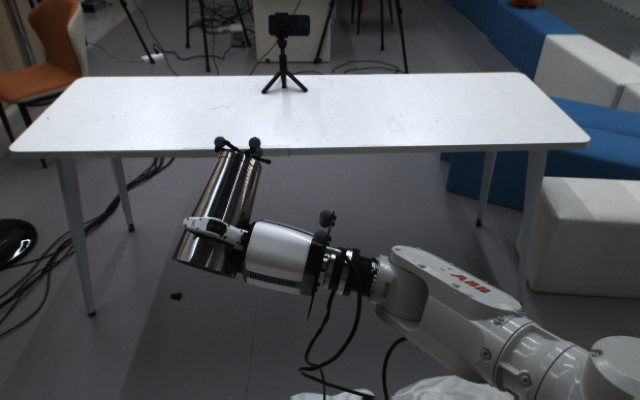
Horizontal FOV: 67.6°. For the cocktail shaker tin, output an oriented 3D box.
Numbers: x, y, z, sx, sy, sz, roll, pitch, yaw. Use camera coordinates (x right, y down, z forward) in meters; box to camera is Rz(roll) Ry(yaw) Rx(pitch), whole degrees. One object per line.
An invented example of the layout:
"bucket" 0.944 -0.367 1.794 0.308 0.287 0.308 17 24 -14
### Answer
"cocktail shaker tin" -0.142 0.019 0.702 0.093 0.093 0.170 12 74 14
